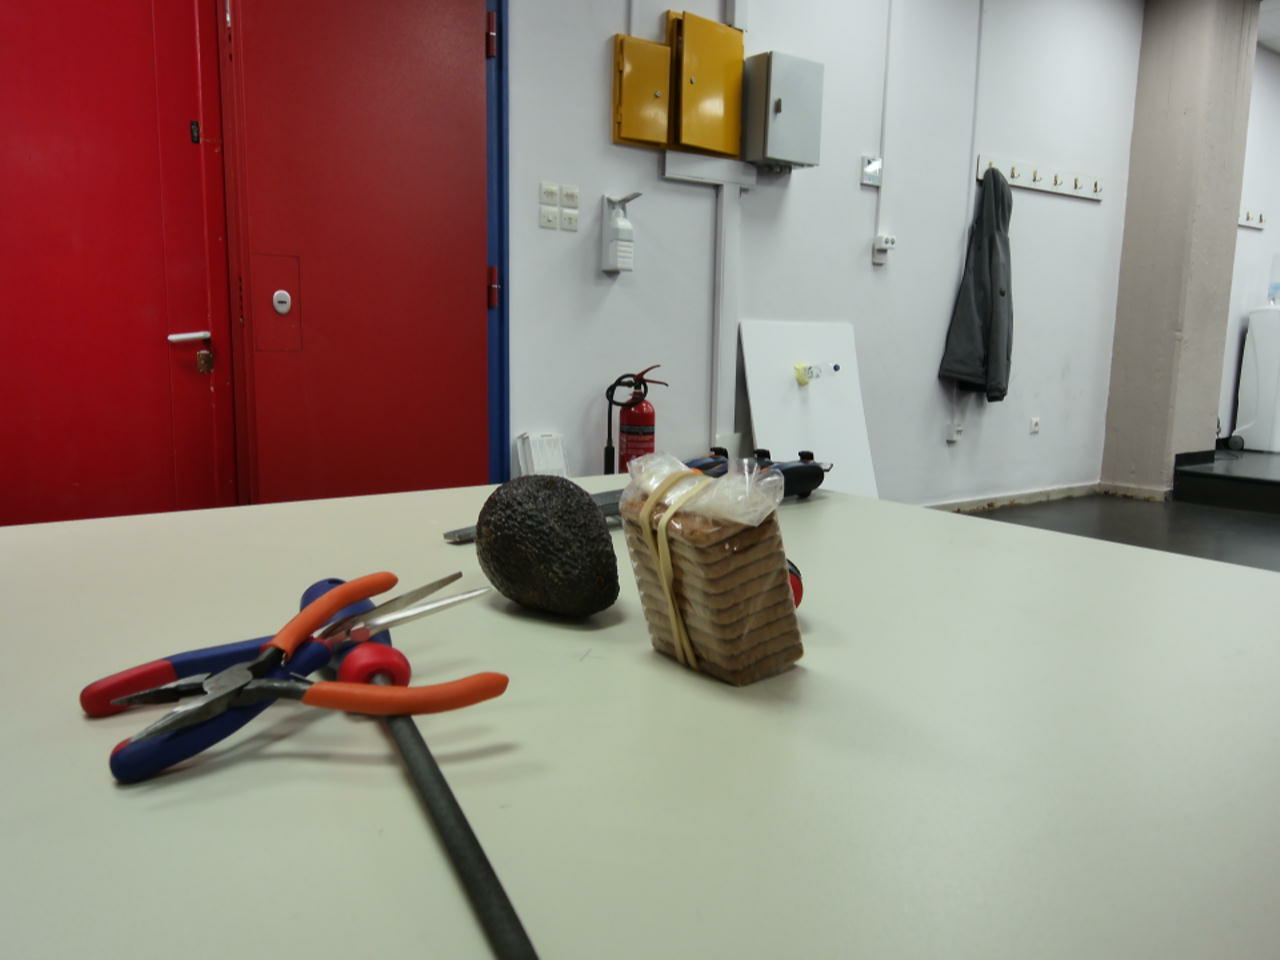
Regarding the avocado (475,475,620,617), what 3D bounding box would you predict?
[{"bbox_3d":[-0.049,0.032,0.518,0.070,0.069,0.090,-1,6,-12],"label":"avocado"}]
